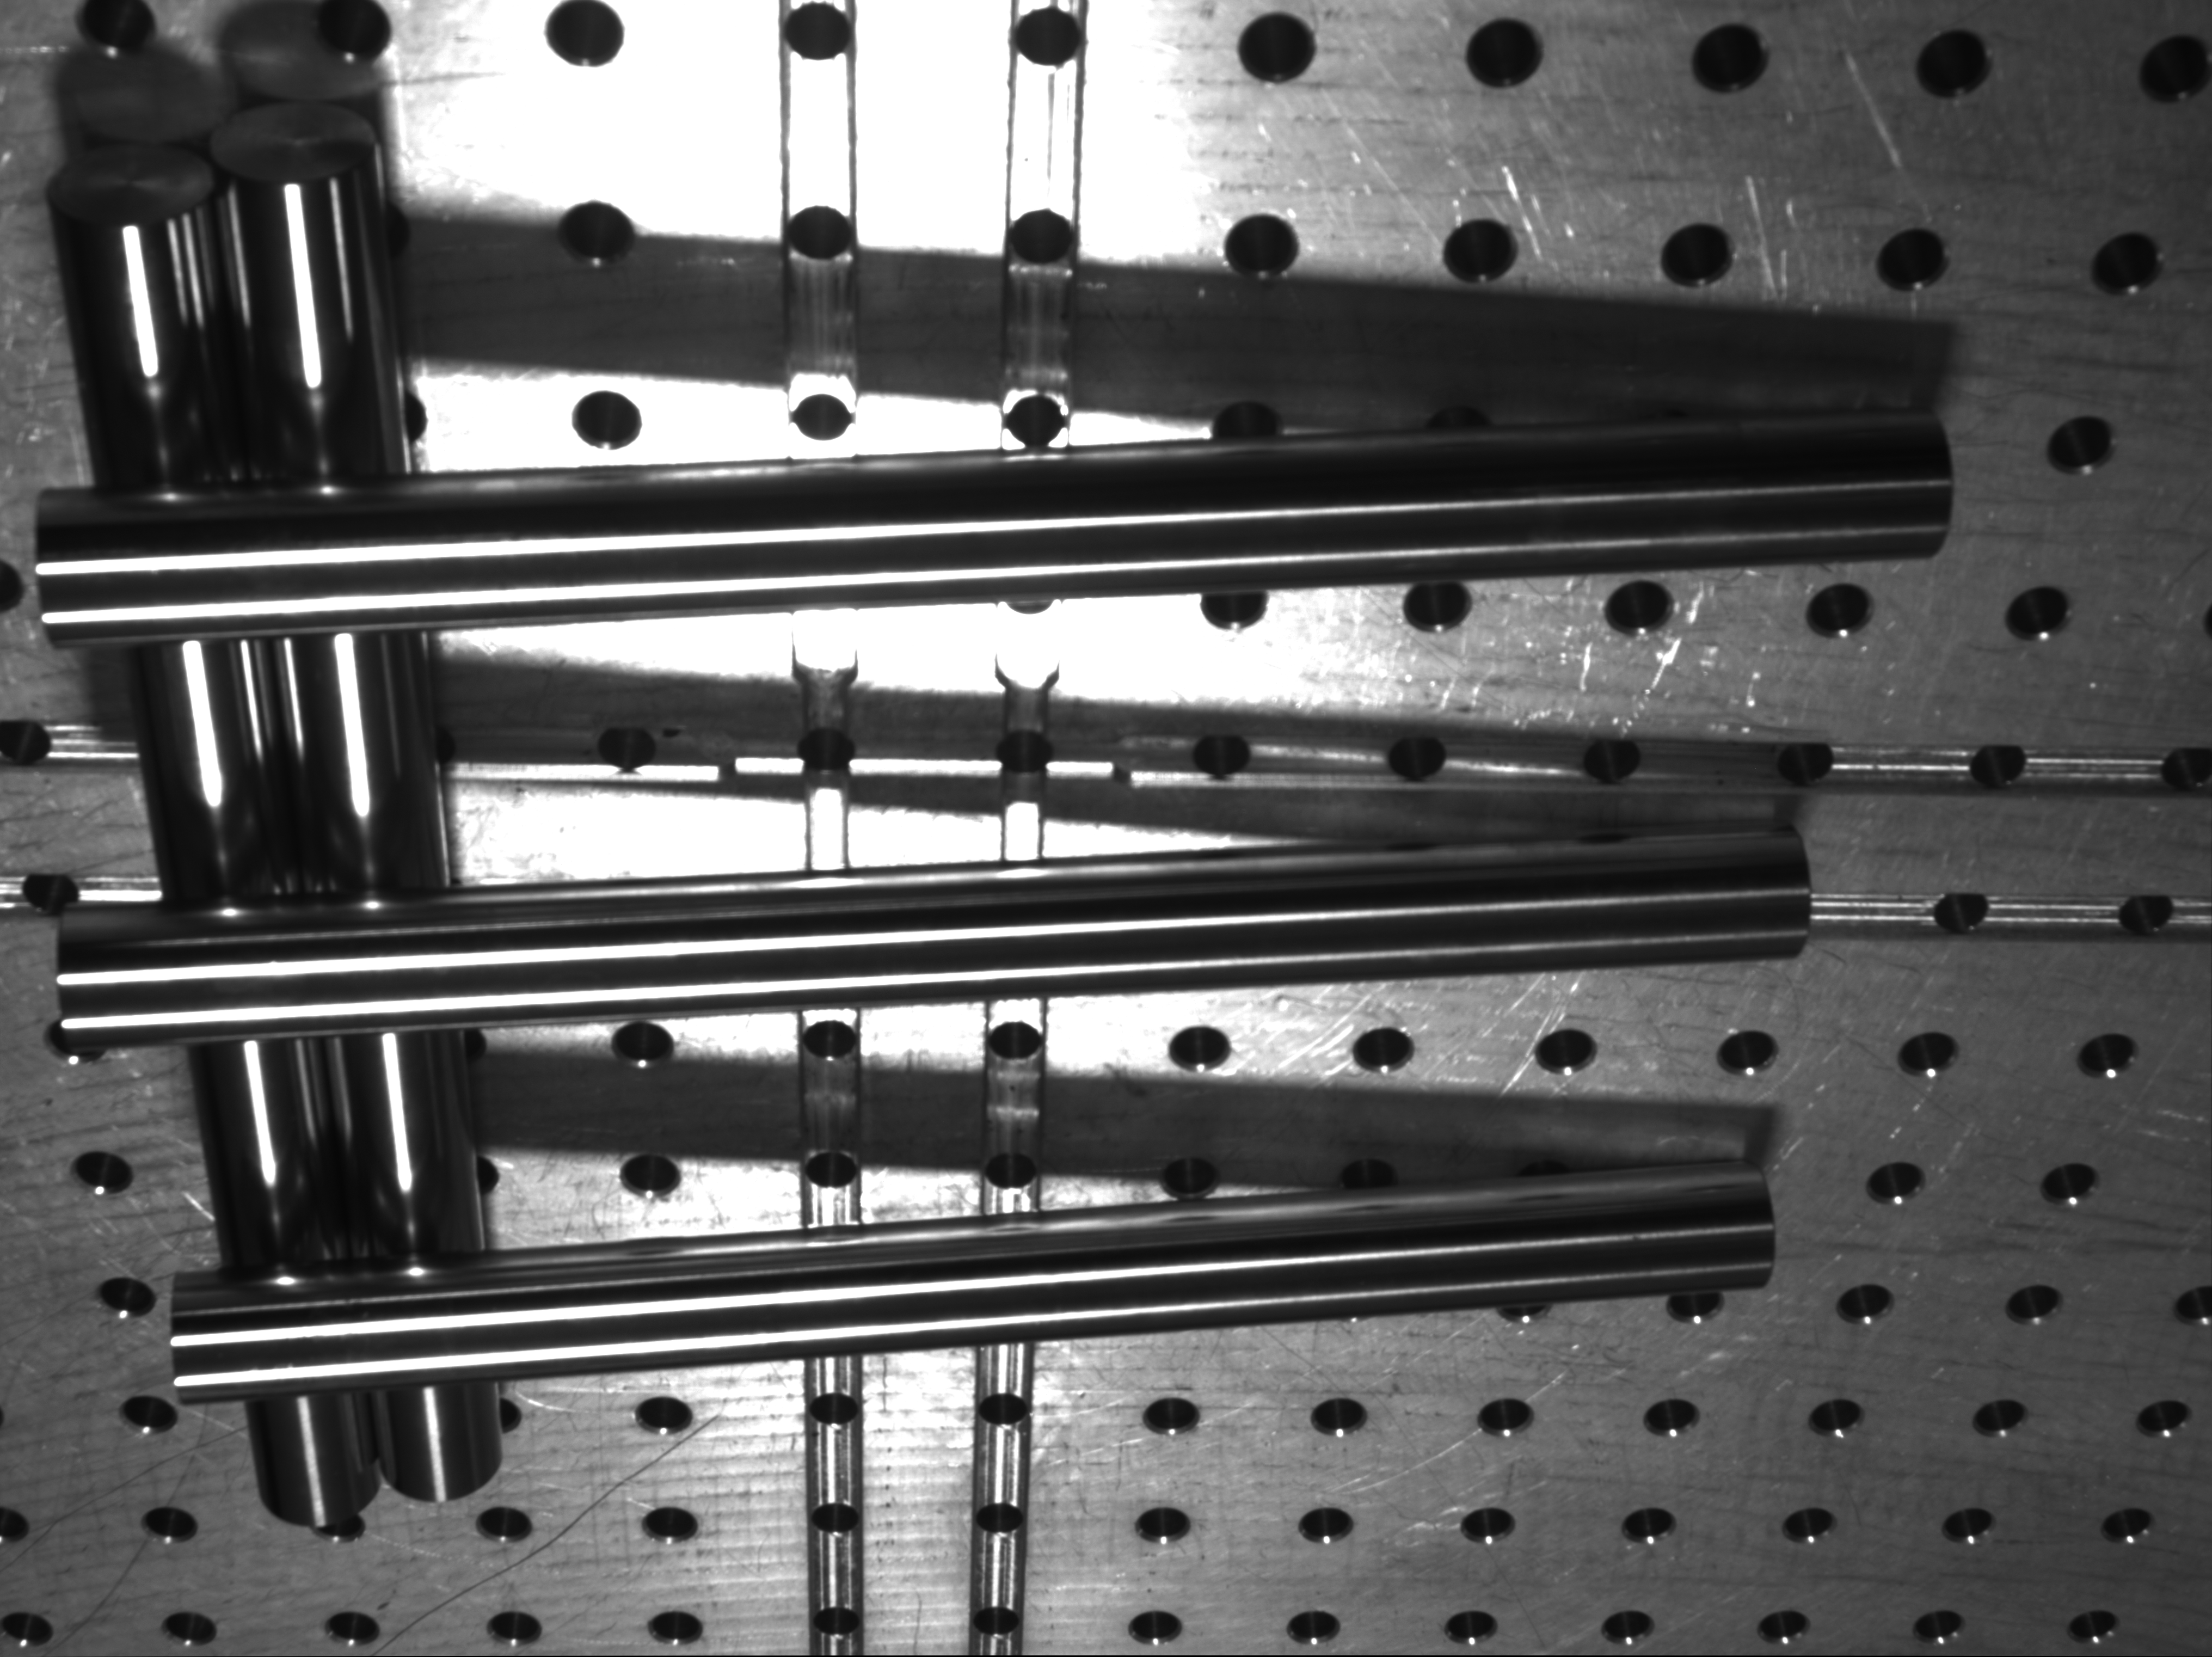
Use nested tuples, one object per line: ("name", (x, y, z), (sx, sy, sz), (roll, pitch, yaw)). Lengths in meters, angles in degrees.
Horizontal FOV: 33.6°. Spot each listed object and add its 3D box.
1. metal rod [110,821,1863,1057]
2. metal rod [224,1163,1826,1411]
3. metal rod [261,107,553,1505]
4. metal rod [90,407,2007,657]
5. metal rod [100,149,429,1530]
("metal rod", (-0.017, 0.019, 0.636), (0.300, 0.025, 0.025), (-3, 130, -7))
("metal rod", (-0.013, 0.086, 0.694), (0.300, 0.025, 0.025), (-3, 130, -7))
("metal rod", (-0.120, 0.013, 0.647), (0.025, 0.025, 0.300), (1, 130, -2))
("metal rod", (-0.006, -0.048, 0.582), (0.300, 0.025, 0.025), (-3, 130, -7))
("metal rod", (-0.145, 0.018, 0.651), (0.025, 0.025, 0.300), (1, 130, -2))
